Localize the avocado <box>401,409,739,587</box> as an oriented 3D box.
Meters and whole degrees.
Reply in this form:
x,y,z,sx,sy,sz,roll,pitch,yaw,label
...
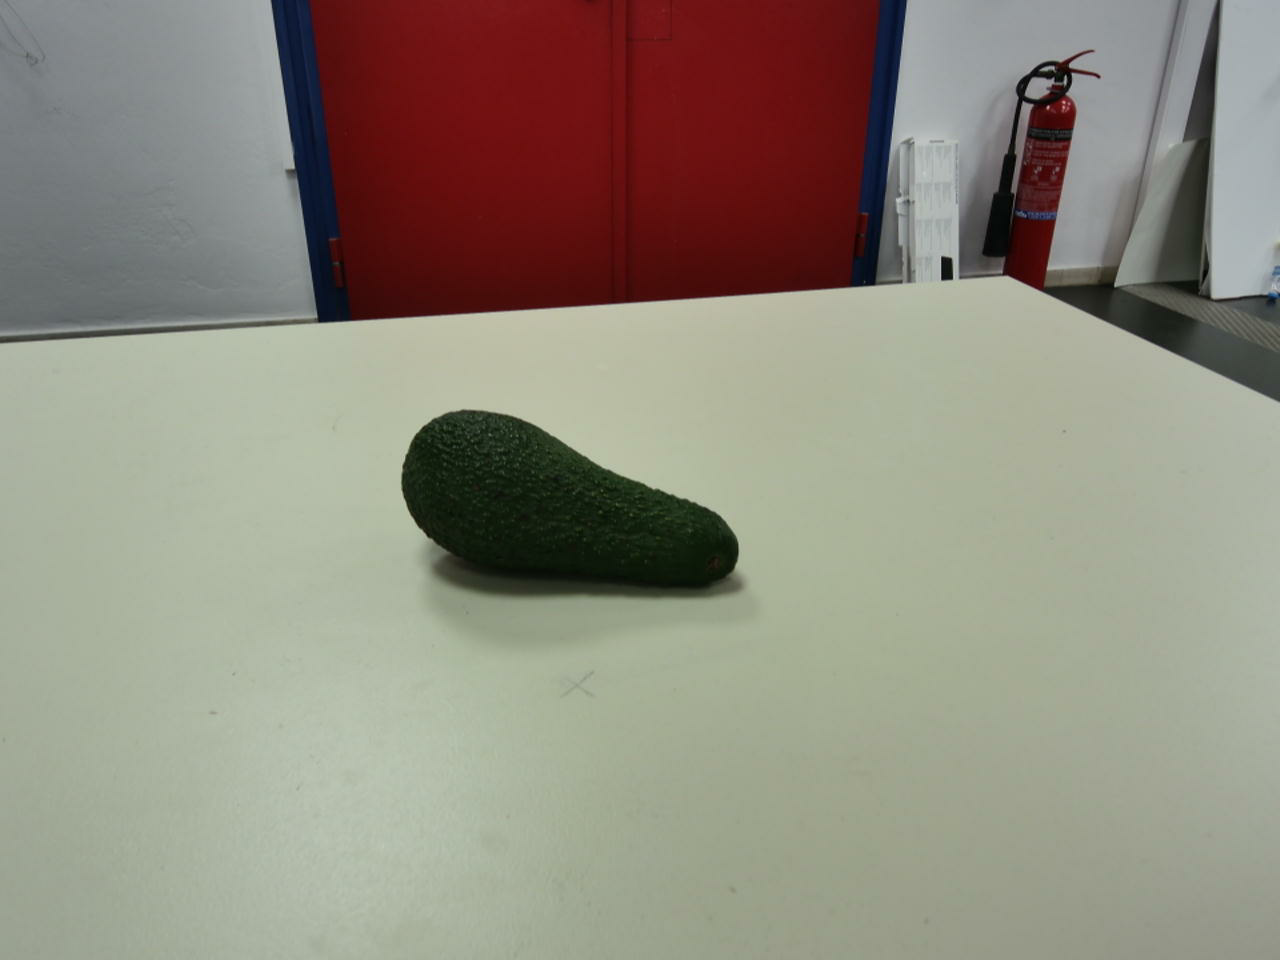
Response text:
x,y,z,sx,sy,sz,roll,pitch,yaw,label
-0.029,0.004,0.414,0.141,0.067,0.063,1,24,2,avocado
